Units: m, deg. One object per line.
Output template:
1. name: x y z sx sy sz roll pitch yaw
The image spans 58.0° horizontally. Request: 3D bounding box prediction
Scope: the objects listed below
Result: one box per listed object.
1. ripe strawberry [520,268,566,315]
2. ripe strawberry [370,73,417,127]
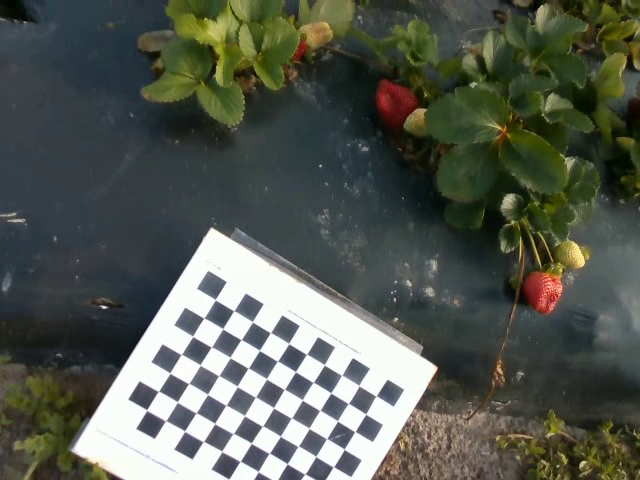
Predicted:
1. ripe strawberry: 0.261 0.061 0.665 0.047 0.050 0.034 11 -5 -6
2. ripe strawberry: 0.095 -0.177 0.736 0.070 0.058 0.057 44 -4 -31
